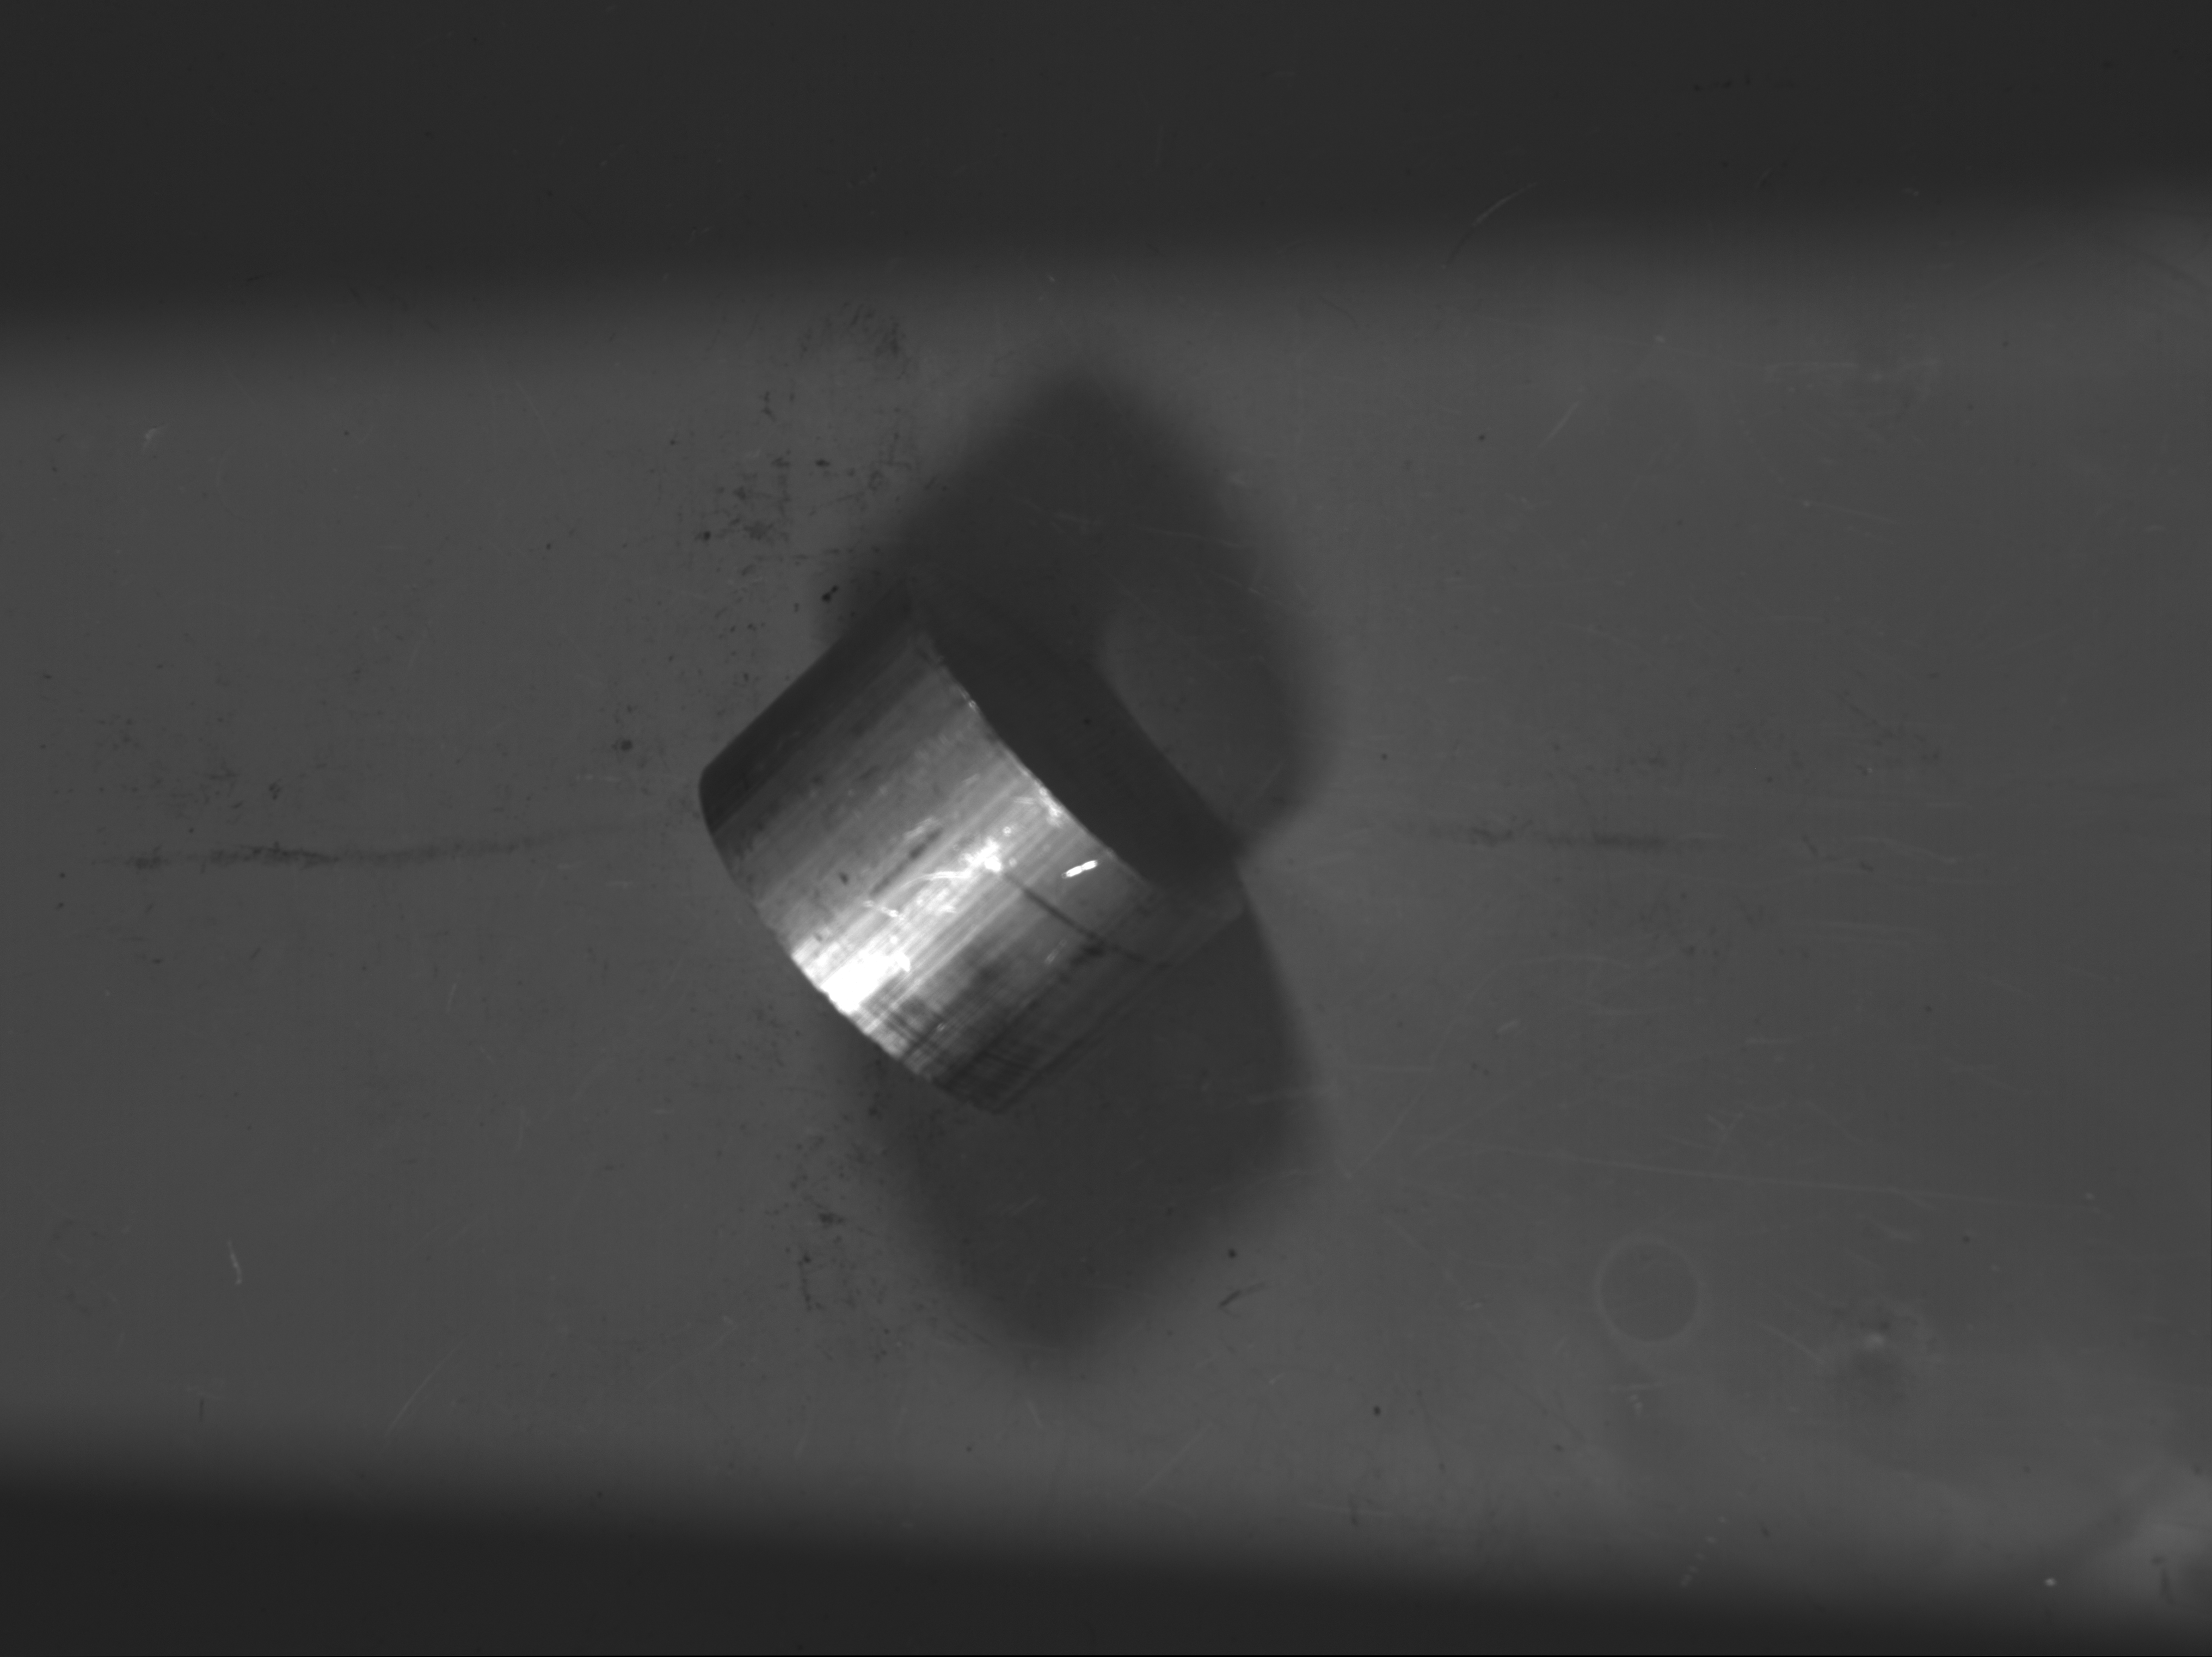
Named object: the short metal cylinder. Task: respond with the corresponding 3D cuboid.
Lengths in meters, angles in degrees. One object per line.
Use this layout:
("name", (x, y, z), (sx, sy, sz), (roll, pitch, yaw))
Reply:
("short metal cylinder", (-0.018, 0.002, 0.619), (0.050, 0.080, 0.080), (-43, 77, 15))
